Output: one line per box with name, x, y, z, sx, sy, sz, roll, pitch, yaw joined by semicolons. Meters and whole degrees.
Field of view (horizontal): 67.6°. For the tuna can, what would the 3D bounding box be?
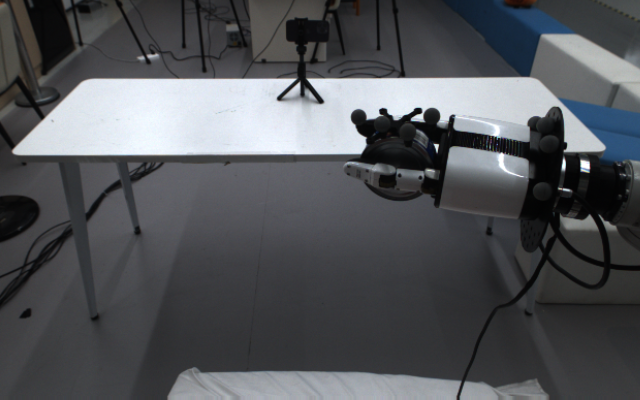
tuna can;0.092;-0.045;0.558;0.085;0.085;0.034;12;39;13
